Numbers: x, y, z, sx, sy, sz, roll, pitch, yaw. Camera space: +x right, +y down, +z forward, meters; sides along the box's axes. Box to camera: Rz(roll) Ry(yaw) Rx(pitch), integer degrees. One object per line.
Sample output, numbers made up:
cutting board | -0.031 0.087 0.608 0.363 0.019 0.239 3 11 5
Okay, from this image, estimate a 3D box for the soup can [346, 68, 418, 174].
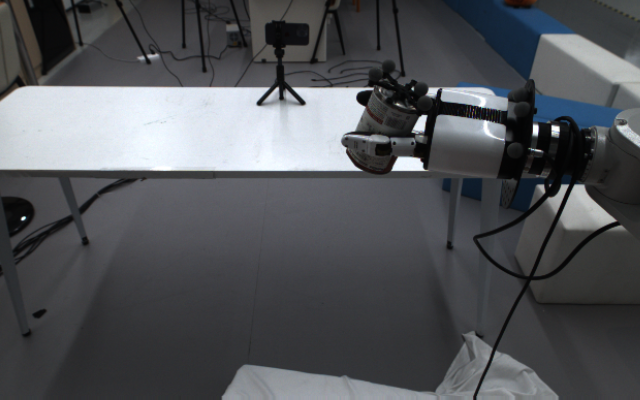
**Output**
soup can | 0.083 -0.093 0.627 0.067 0.101 0.067 14 40 -12
